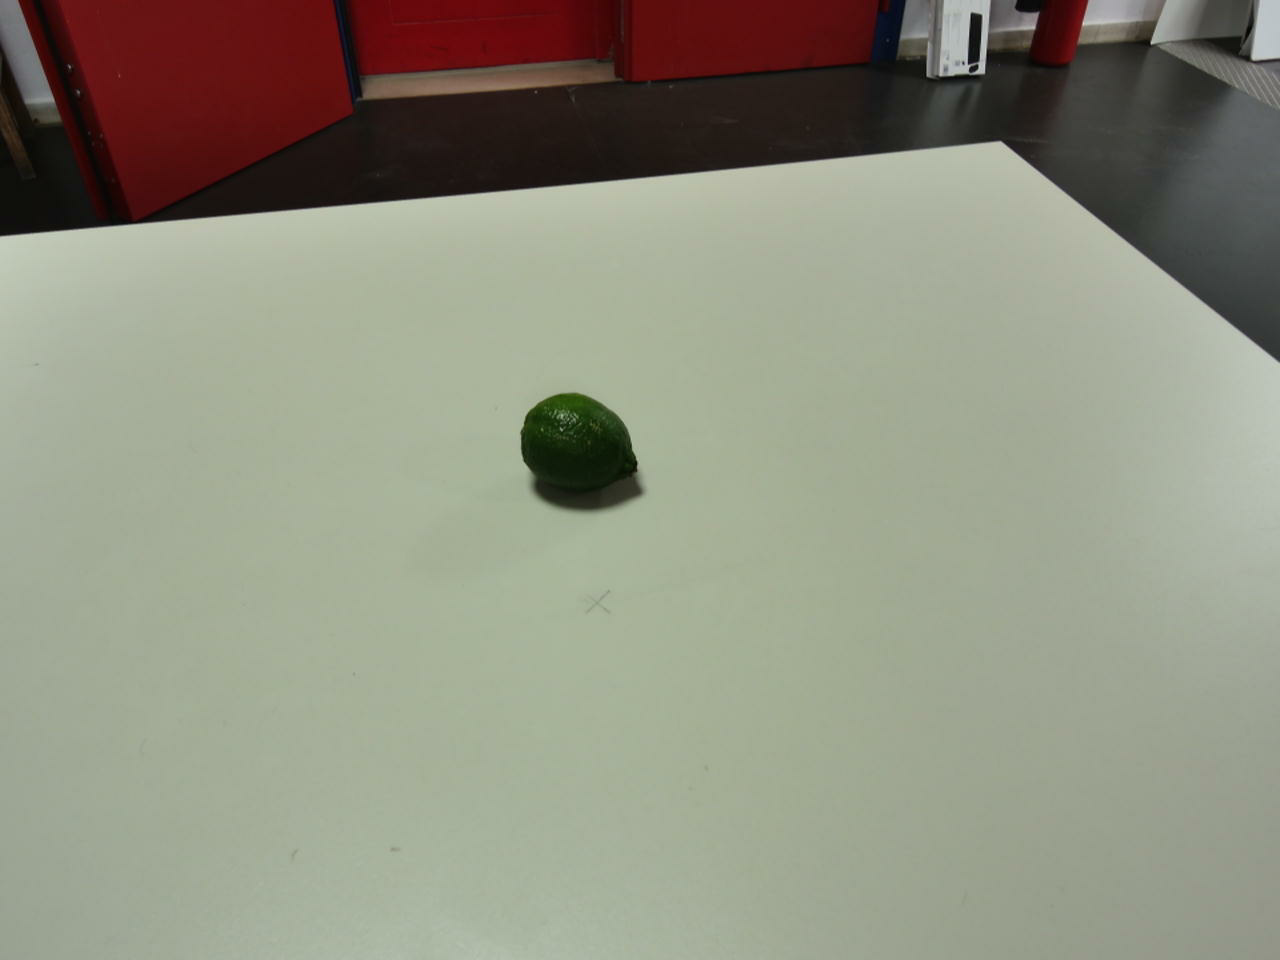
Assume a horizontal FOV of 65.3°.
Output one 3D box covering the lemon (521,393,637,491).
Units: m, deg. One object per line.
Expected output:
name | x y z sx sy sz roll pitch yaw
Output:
lemon | -0.034 -0.021 0.526 0.057 0.051 0.054 -11 40 -13
